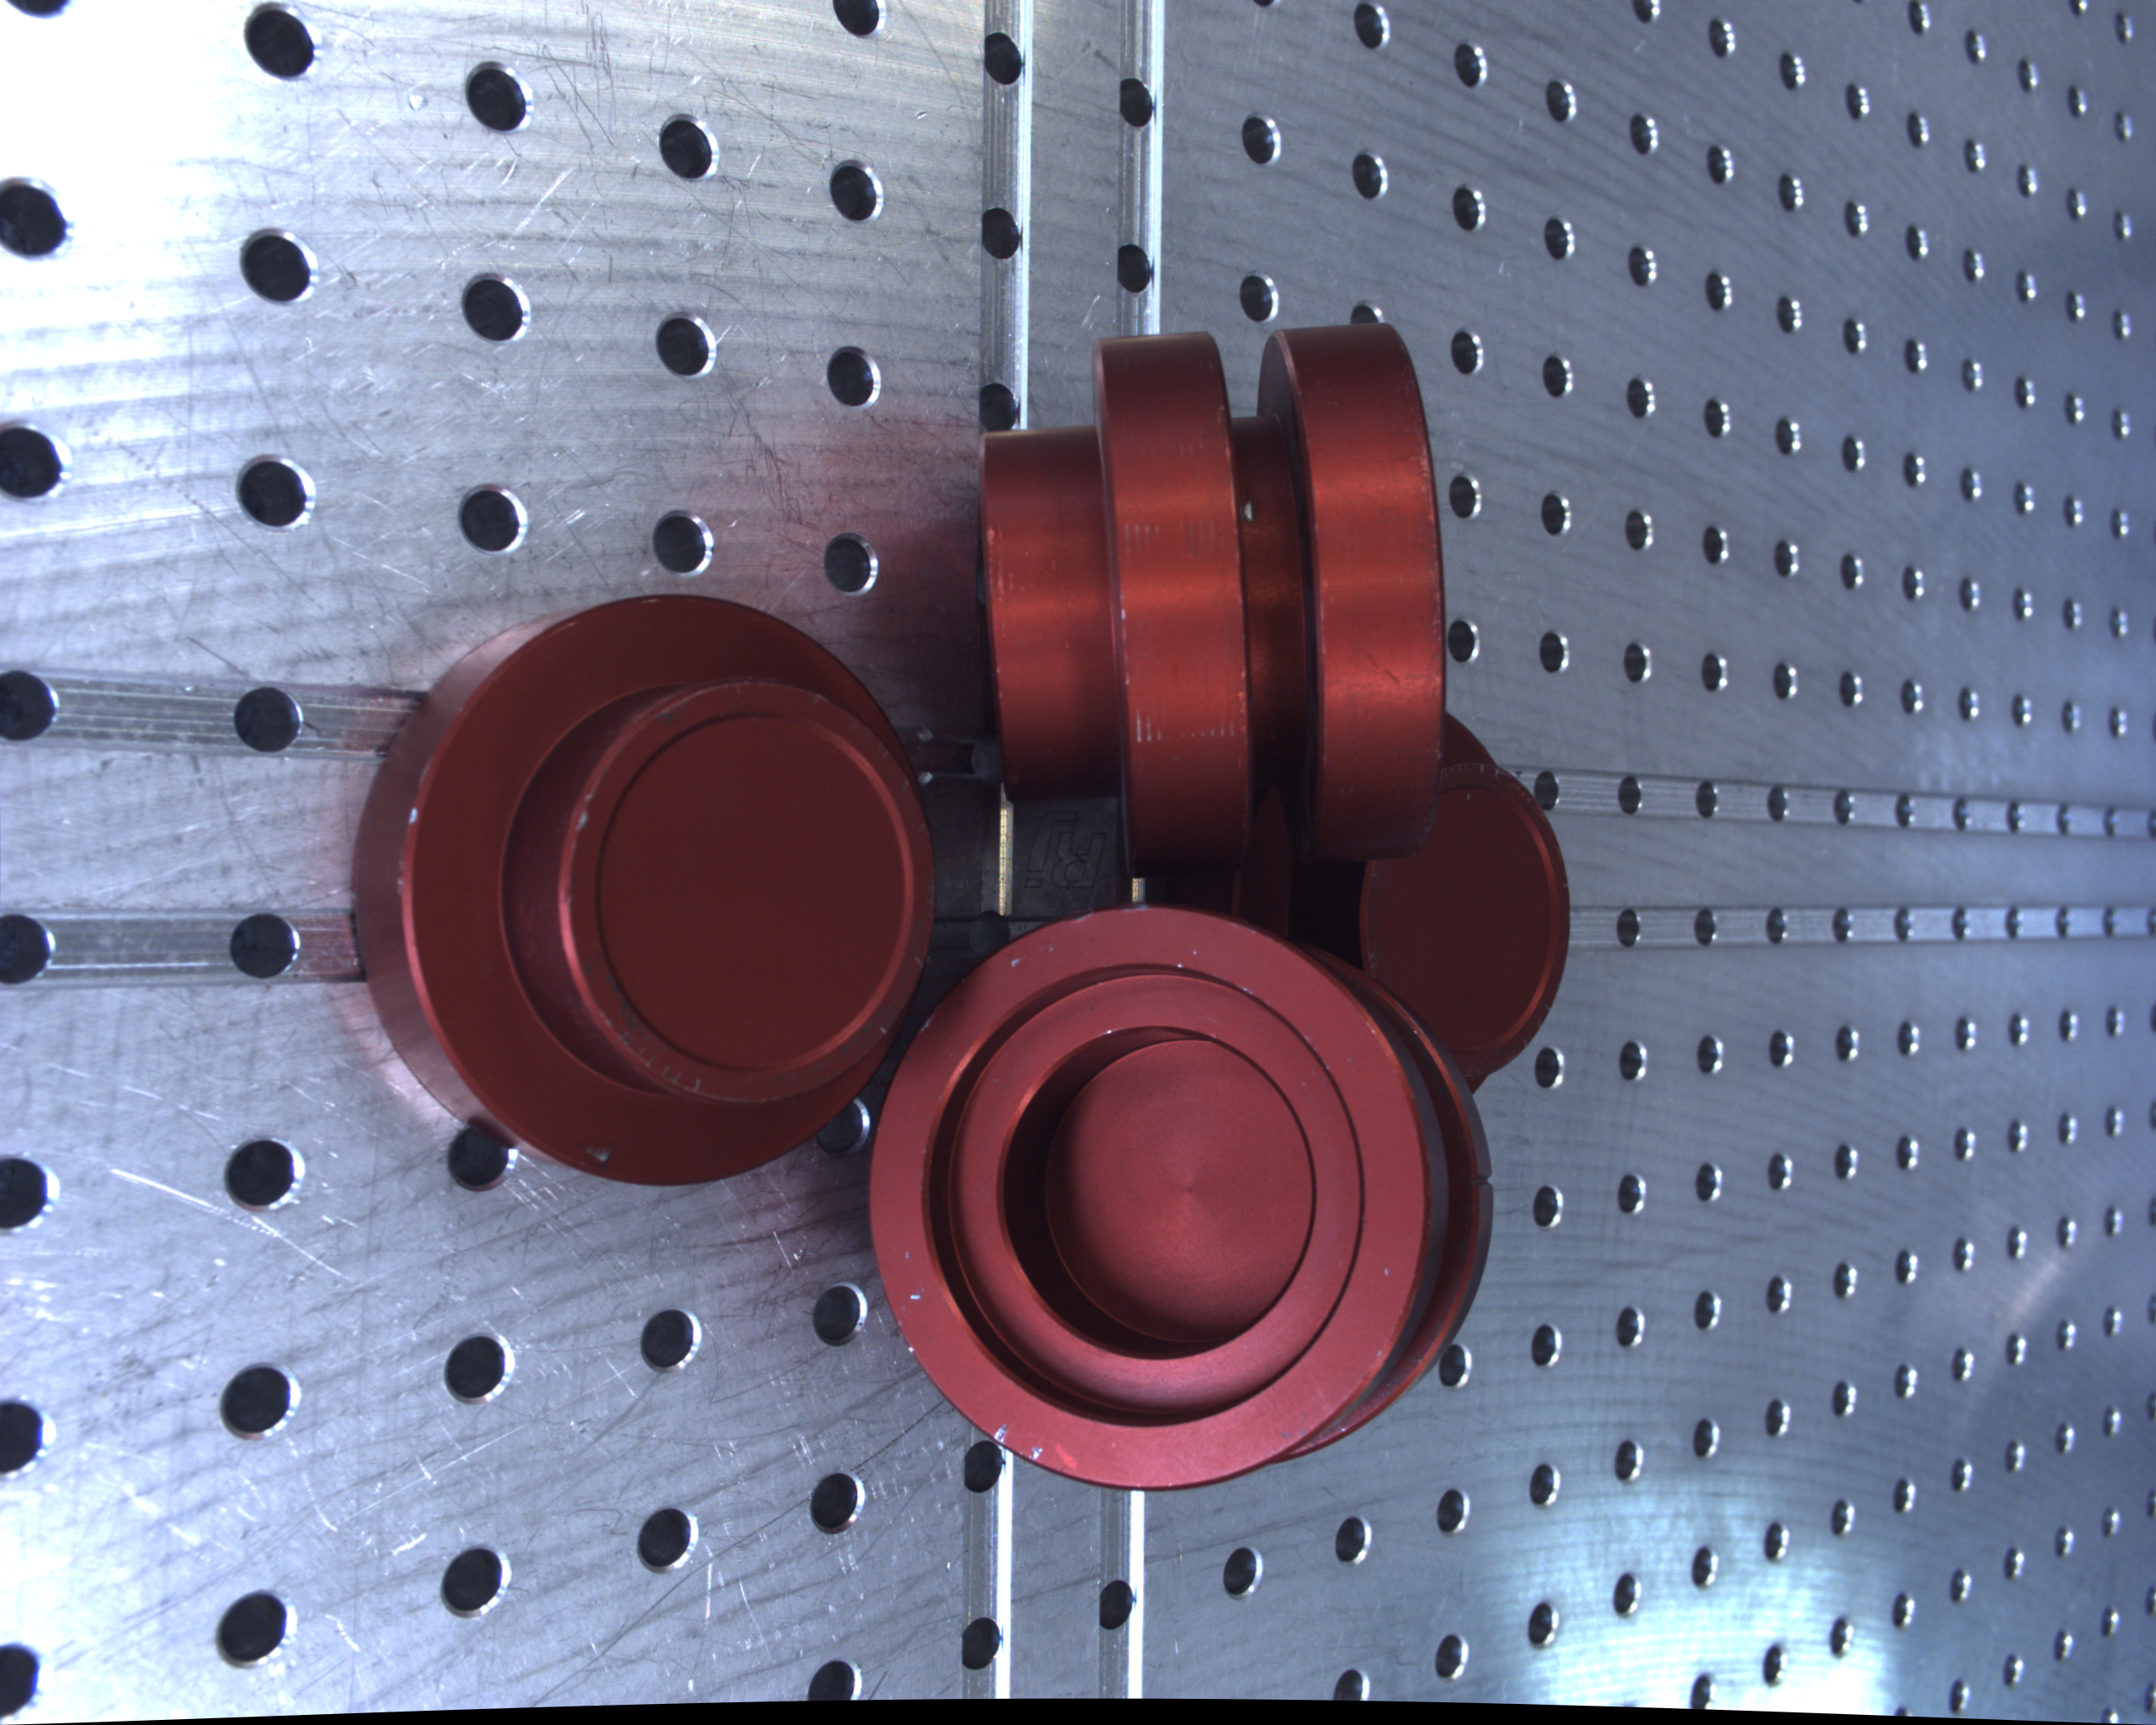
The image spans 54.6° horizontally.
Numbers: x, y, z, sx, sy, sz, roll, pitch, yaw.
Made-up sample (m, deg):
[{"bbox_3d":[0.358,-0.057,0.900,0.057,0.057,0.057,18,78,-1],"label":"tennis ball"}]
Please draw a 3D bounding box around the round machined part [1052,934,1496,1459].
[{"bbox_3d":[0.030,0.063,0.398,0.042,0.098,0.098,27,70,-70],"label":"round machined part"}]

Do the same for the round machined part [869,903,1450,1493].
[{"bbox_3d":[0.017,0.058,0.369,0.042,0.098,0.098,25,71,-71],"label":"round machined part"}]

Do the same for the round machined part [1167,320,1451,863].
[{"bbox_3d":[0.038,-0.048,0.384,0.042,0.098,0.097,-4,94,0],"label":"round machined part"}]

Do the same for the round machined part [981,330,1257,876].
[{"bbox_3d":[0.006,-0.046,0.381,0.042,0.098,0.097,-4,94,0],"label":"round machined part"}]

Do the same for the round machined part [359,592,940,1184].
[{"bbox_3d":[-0.062,0.004,0.344,0.099,0.042,0.097,0,90,-40],"label":"round machined part"}]

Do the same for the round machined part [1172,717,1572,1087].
[{"bbox_3d":[0.070,0.012,0.456,0.099,0.042,0.097,0,90,-40],"label":"round machined part"}]
